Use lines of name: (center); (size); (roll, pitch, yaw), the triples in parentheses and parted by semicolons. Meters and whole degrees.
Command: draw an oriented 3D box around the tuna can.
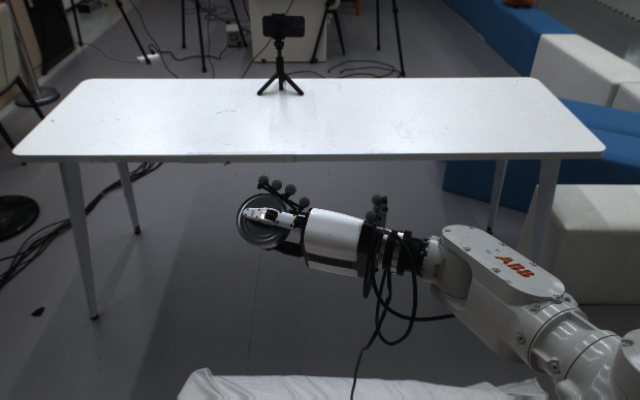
tuna can: (-0.088, 0.035, 0.777); (0.085, 0.034, 0.085); (-2, 71, 6)
